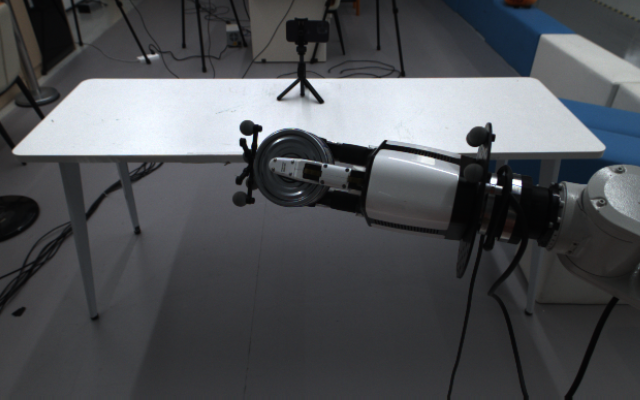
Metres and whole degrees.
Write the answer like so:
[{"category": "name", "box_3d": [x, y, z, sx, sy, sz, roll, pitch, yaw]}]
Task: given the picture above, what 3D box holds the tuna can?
[{"category": "tuna can", "box_3d": [-0.024, -0.032, 0.527, 0.085, 0.085, 0.034, 10, 2, 11]}]
